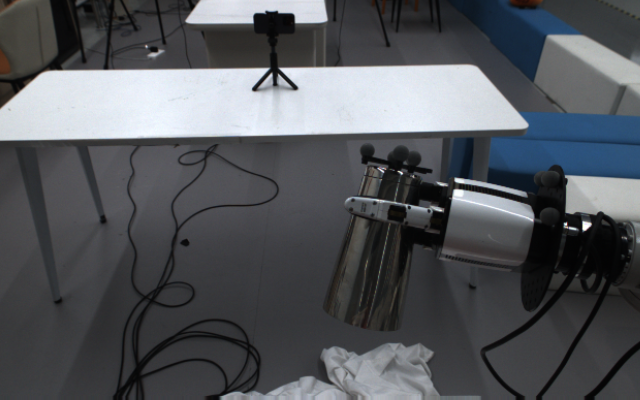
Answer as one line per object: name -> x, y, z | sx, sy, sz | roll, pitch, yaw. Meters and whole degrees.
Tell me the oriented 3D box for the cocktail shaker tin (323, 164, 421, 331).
cocktail shaker tin -> 0.068, 0.048, 0.556 | 0.093, 0.170, 0.093 | 12, 3, -1
